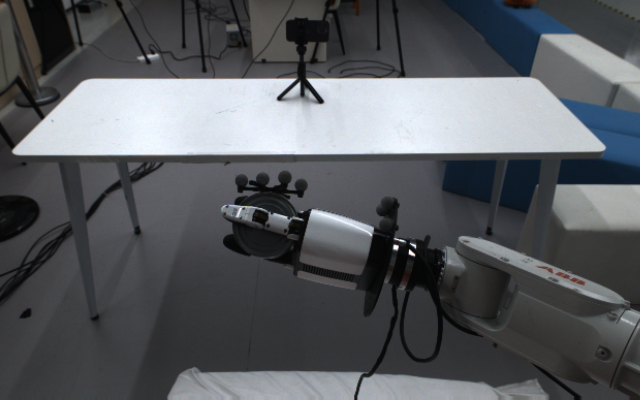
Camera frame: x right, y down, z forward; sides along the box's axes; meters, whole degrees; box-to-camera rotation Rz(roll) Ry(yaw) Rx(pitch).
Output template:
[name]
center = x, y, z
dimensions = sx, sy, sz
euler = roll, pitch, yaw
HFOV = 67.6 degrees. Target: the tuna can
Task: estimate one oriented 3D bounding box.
[tuna can]
center = -0.067, 0.035, 0.634
dimensions = 0.085, 0.034, 0.085
euler = 0, 77, 0
